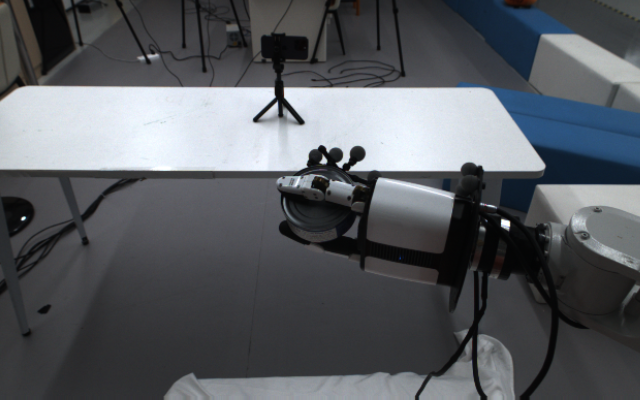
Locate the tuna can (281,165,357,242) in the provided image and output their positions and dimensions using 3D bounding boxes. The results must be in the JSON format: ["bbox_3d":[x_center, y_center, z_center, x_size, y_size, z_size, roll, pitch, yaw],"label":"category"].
[{"bbox_3d":[0.002,0.002,0.551,0.085,0.034,0.085,-4,56,6],"label":"tuna can"}]
